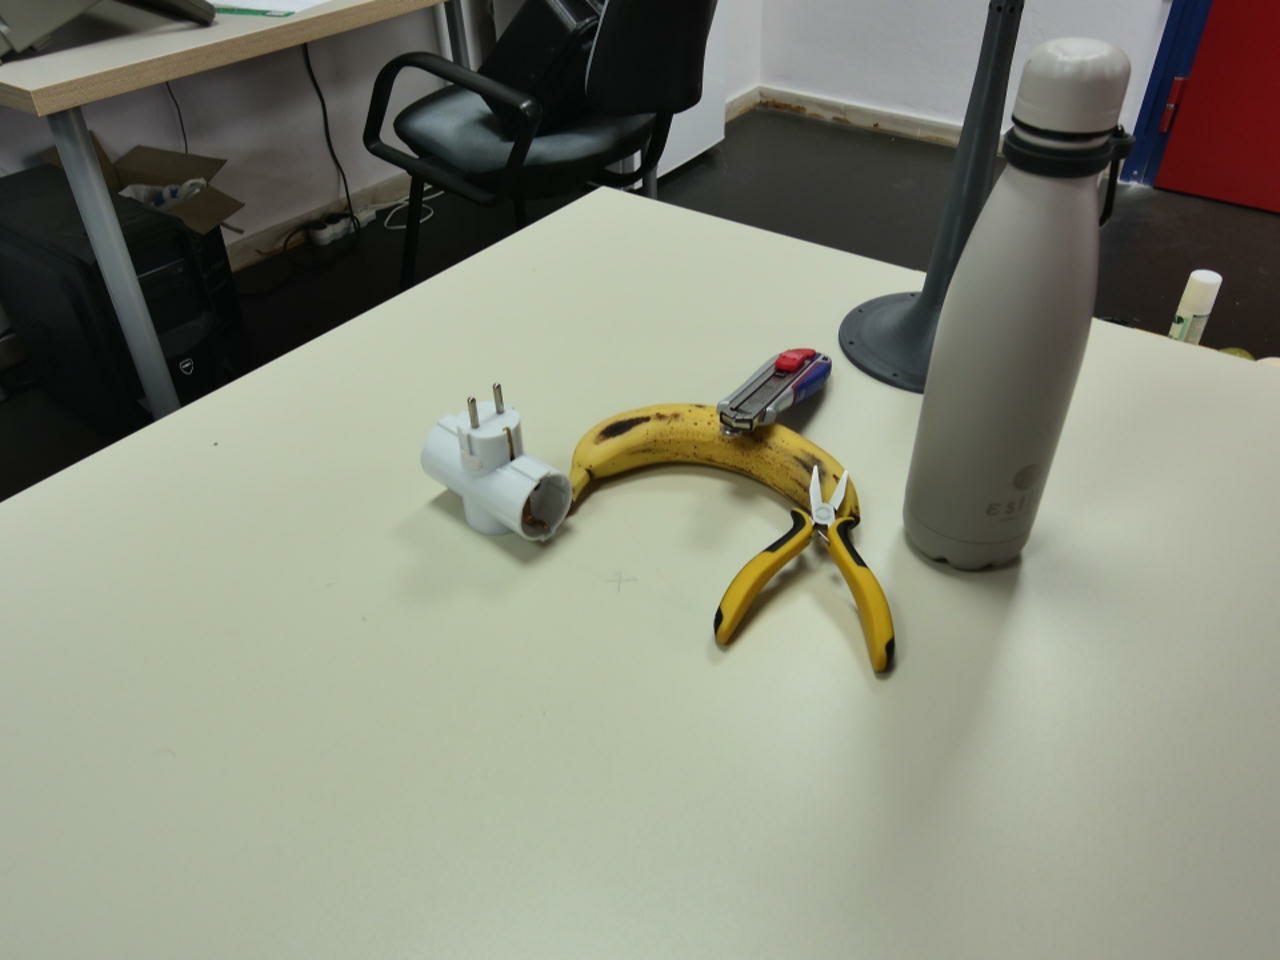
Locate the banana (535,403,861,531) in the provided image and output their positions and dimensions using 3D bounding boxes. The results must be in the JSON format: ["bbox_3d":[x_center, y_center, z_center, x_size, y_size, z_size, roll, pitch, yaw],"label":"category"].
[{"bbox_3d":[0.041,-0.010,0.615,0.186,0.038,0.097,5,38,8],"label":"banana"}]
